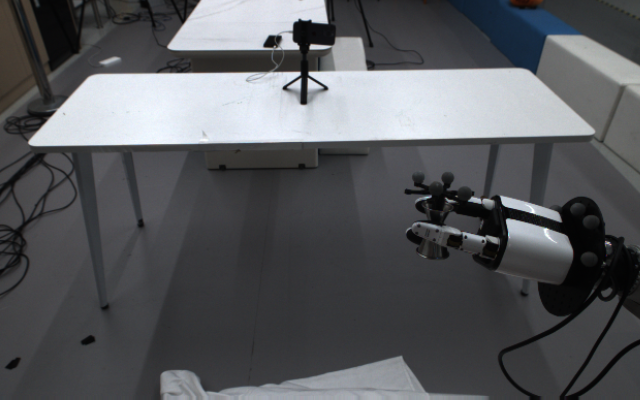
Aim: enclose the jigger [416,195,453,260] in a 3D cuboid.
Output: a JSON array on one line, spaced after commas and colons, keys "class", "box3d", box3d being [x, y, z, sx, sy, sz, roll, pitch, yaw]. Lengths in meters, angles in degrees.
[{"class": "jigger", "box3d": [0.150, 0.036, 0.640, 0.043, 0.071, 0.043, 1, 20, 0]}]
